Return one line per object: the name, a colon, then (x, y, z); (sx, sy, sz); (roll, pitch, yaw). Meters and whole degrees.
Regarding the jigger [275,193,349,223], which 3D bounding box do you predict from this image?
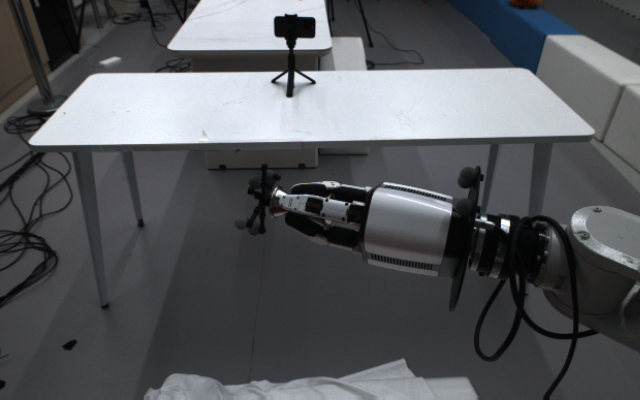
jigger: (-0.014, 0.004, 0.568); (0.071, 0.043, 0.043); (9, 35, 16)
